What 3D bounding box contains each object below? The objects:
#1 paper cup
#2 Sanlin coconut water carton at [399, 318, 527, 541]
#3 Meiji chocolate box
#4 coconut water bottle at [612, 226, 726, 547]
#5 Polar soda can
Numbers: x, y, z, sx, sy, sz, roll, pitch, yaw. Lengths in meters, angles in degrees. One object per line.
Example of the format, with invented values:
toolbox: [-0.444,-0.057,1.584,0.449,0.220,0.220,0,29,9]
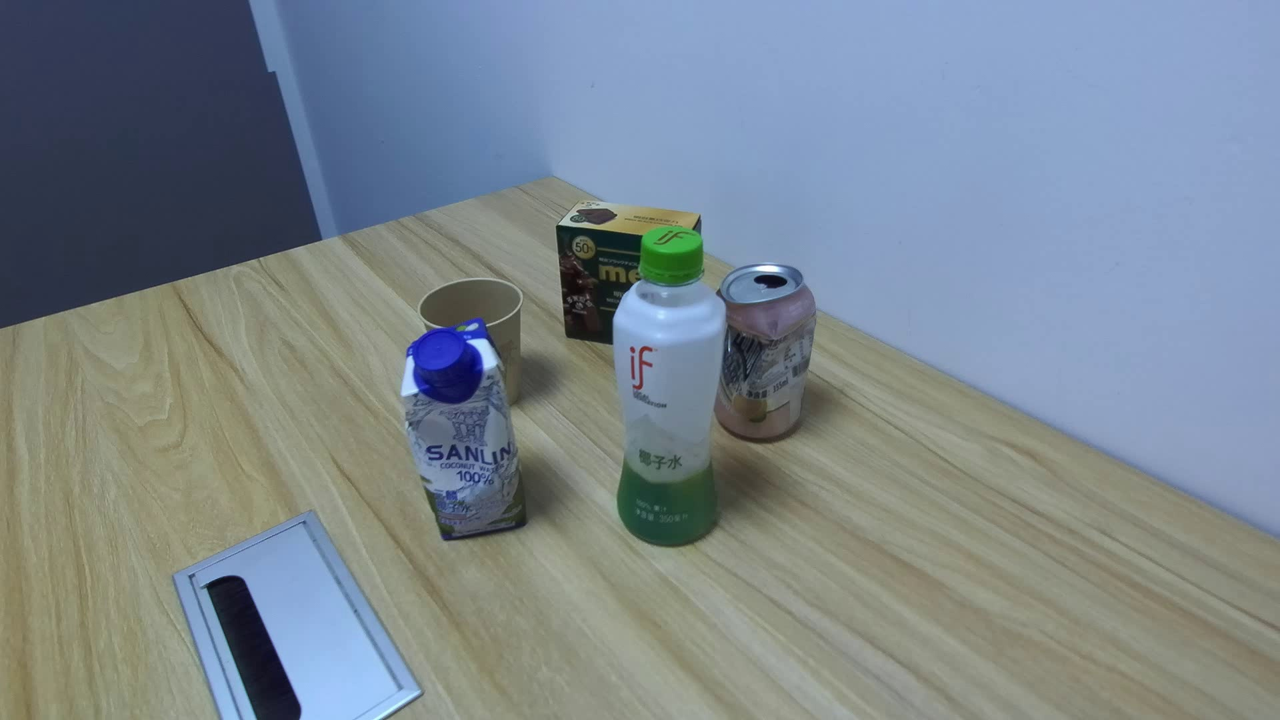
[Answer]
paper cup: [-0.121,-0.007,0.534,0.075,0.082,0.075,0,34,1]
Sanlin coconut water carton: [-0.105,0.037,0.415,0.061,0.144,0.069,-9,36,-9]
Meiji chocolate box: [-0.006,-0.061,0.569,0.110,0.109,0.056,3,14,11]
coconut water bottle: [0.017,0.019,0.395,0.063,0.189,0.063,-1,34,1]
Polar soda can: [0.081,-0.005,0.494,0.070,0.122,0.067,22,45,31]
